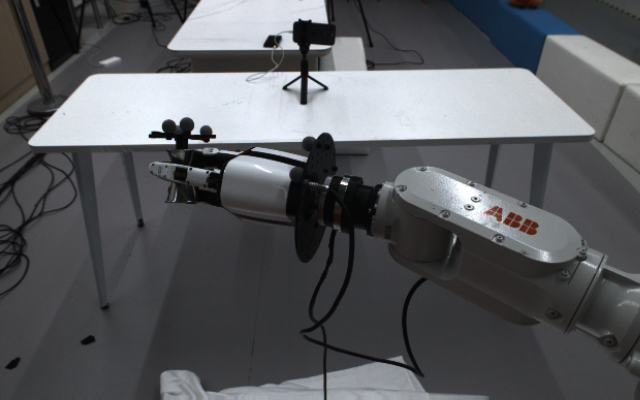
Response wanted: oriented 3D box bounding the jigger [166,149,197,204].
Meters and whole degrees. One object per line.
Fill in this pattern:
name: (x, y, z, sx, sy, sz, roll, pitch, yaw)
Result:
jigger: (-0.177, -0.031, 0.628, 0.043, 0.071, 0.043, 0, 3, 0)
